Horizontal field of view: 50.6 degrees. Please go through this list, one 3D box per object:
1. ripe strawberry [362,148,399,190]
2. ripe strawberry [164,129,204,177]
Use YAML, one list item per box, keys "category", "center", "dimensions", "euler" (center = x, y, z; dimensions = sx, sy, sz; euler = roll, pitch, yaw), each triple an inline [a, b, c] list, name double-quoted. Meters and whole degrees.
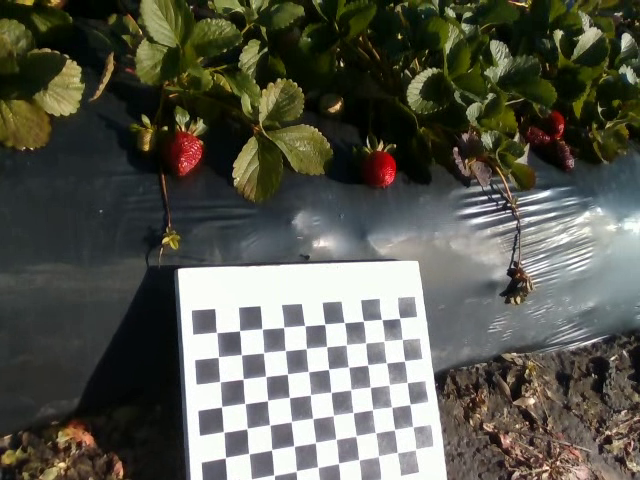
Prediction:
- category: "ripe strawberry"
  center: [0.064, -0.071, 0.698]
  dimensions: [0.042, 0.043, 0.050]
  euler: [36, 19, -19]
- category: "ripe strawberry"
  center: [-0.126, -0.079, 0.617]
  dimensions: [0.041, 0.043, 0.053]
  euler: [12, 31, -27]
